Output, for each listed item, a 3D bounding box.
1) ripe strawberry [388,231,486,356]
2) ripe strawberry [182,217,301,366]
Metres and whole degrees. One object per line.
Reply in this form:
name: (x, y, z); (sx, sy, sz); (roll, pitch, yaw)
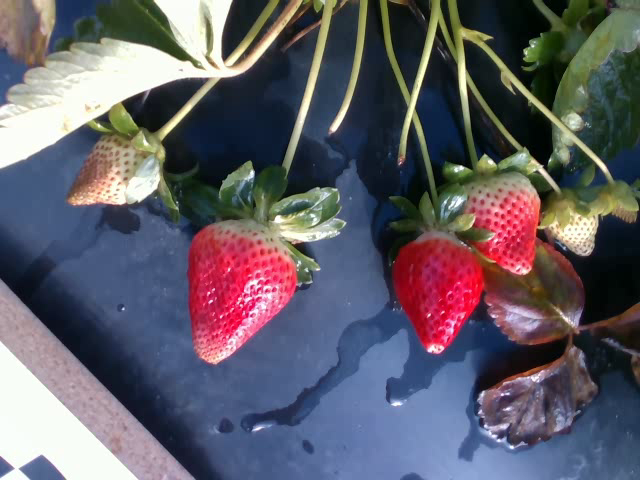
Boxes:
ripe strawberry: (0.048, 0.025, 0.253); (0.044, 0.055, 0.042); (-3, -25, 25)
ripe strawberry: (-0.036, 0.021, 0.237); (0.050, 0.065, 0.050); (19, -22, 14)
